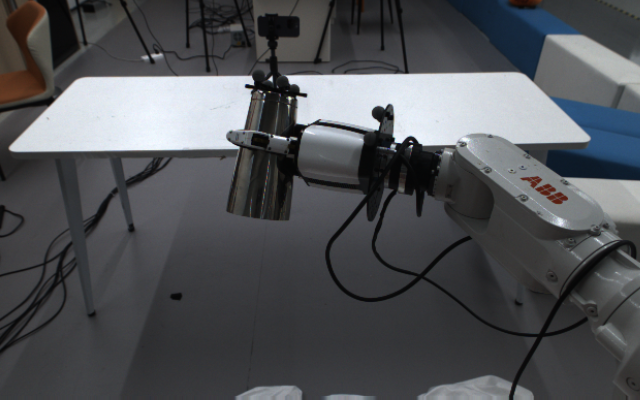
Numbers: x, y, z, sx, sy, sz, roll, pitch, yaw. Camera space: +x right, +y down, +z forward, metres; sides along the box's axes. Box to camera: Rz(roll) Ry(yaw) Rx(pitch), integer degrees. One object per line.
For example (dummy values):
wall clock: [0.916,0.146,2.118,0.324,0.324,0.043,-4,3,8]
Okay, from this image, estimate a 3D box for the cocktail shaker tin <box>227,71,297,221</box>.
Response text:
cocktail shaker tin: [-0.076,-0.063,0.686,0.093,0.170,0.093,9,3,0]
